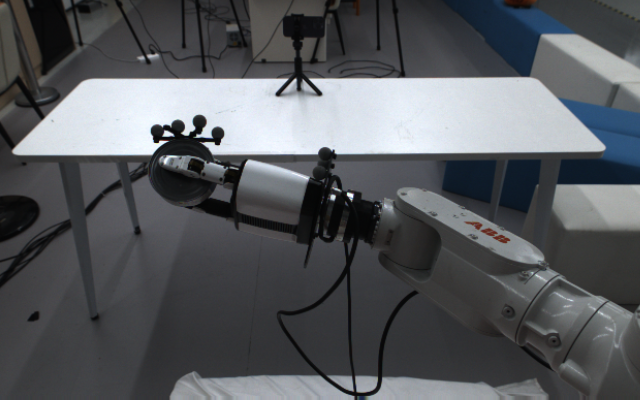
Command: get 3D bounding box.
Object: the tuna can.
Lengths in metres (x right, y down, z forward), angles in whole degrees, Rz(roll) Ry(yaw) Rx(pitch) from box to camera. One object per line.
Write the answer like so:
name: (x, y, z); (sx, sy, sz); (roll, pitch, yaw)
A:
tuna can: (-0.174, -0.034, 0.633); (0.085, 0.034, 0.085); (1, 70, -4)
